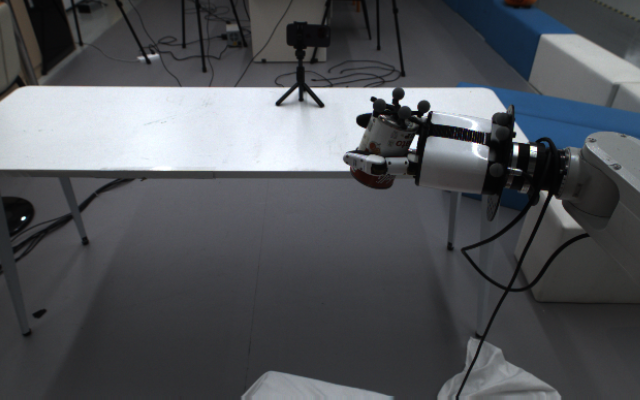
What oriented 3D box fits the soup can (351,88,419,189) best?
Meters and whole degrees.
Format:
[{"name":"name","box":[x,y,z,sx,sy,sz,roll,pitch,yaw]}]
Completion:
[{"name":"soup can","box":[0.091,-0.075,0.682,0.067,0.101,0.067,14,35,-10]}]
